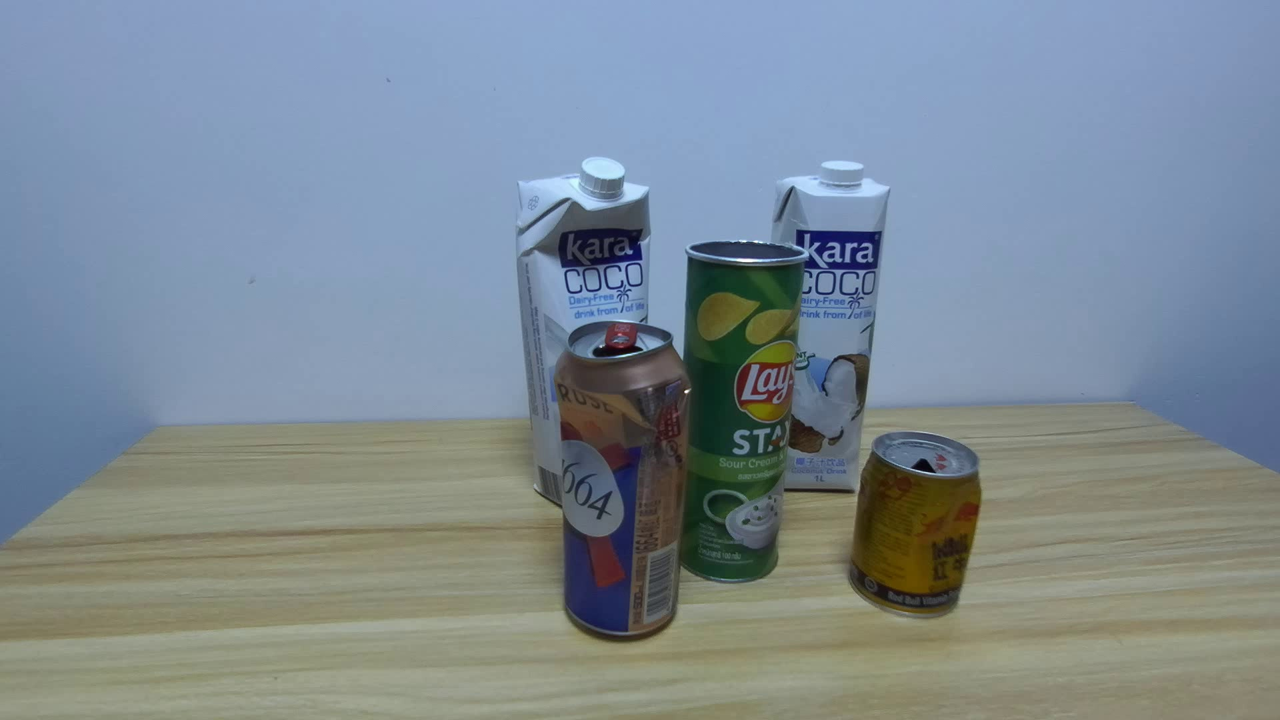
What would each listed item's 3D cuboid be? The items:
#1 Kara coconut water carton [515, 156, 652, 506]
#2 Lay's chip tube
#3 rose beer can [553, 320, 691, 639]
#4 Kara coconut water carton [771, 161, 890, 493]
[{"bbox_3d":[-0.035,-0.017,0.507,0.100,0.244,0.071,-16,22,-37],"label":"Kara coconut water carton"},{"bbox_3d":[0.059,0.031,0.433,0.071,0.202,0.071,1,19,0],"label":"Lay's chip tube"},{"bbox_3d":[-0.012,0.067,0.382,0.065,0.167,0.075,-10,23,-25],"label":"rose beer can"},{"bbox_3d":[0.136,-0.023,0.535,0.077,0.245,0.075,1,17,1],"label":"Kara coconut water carton"}]
